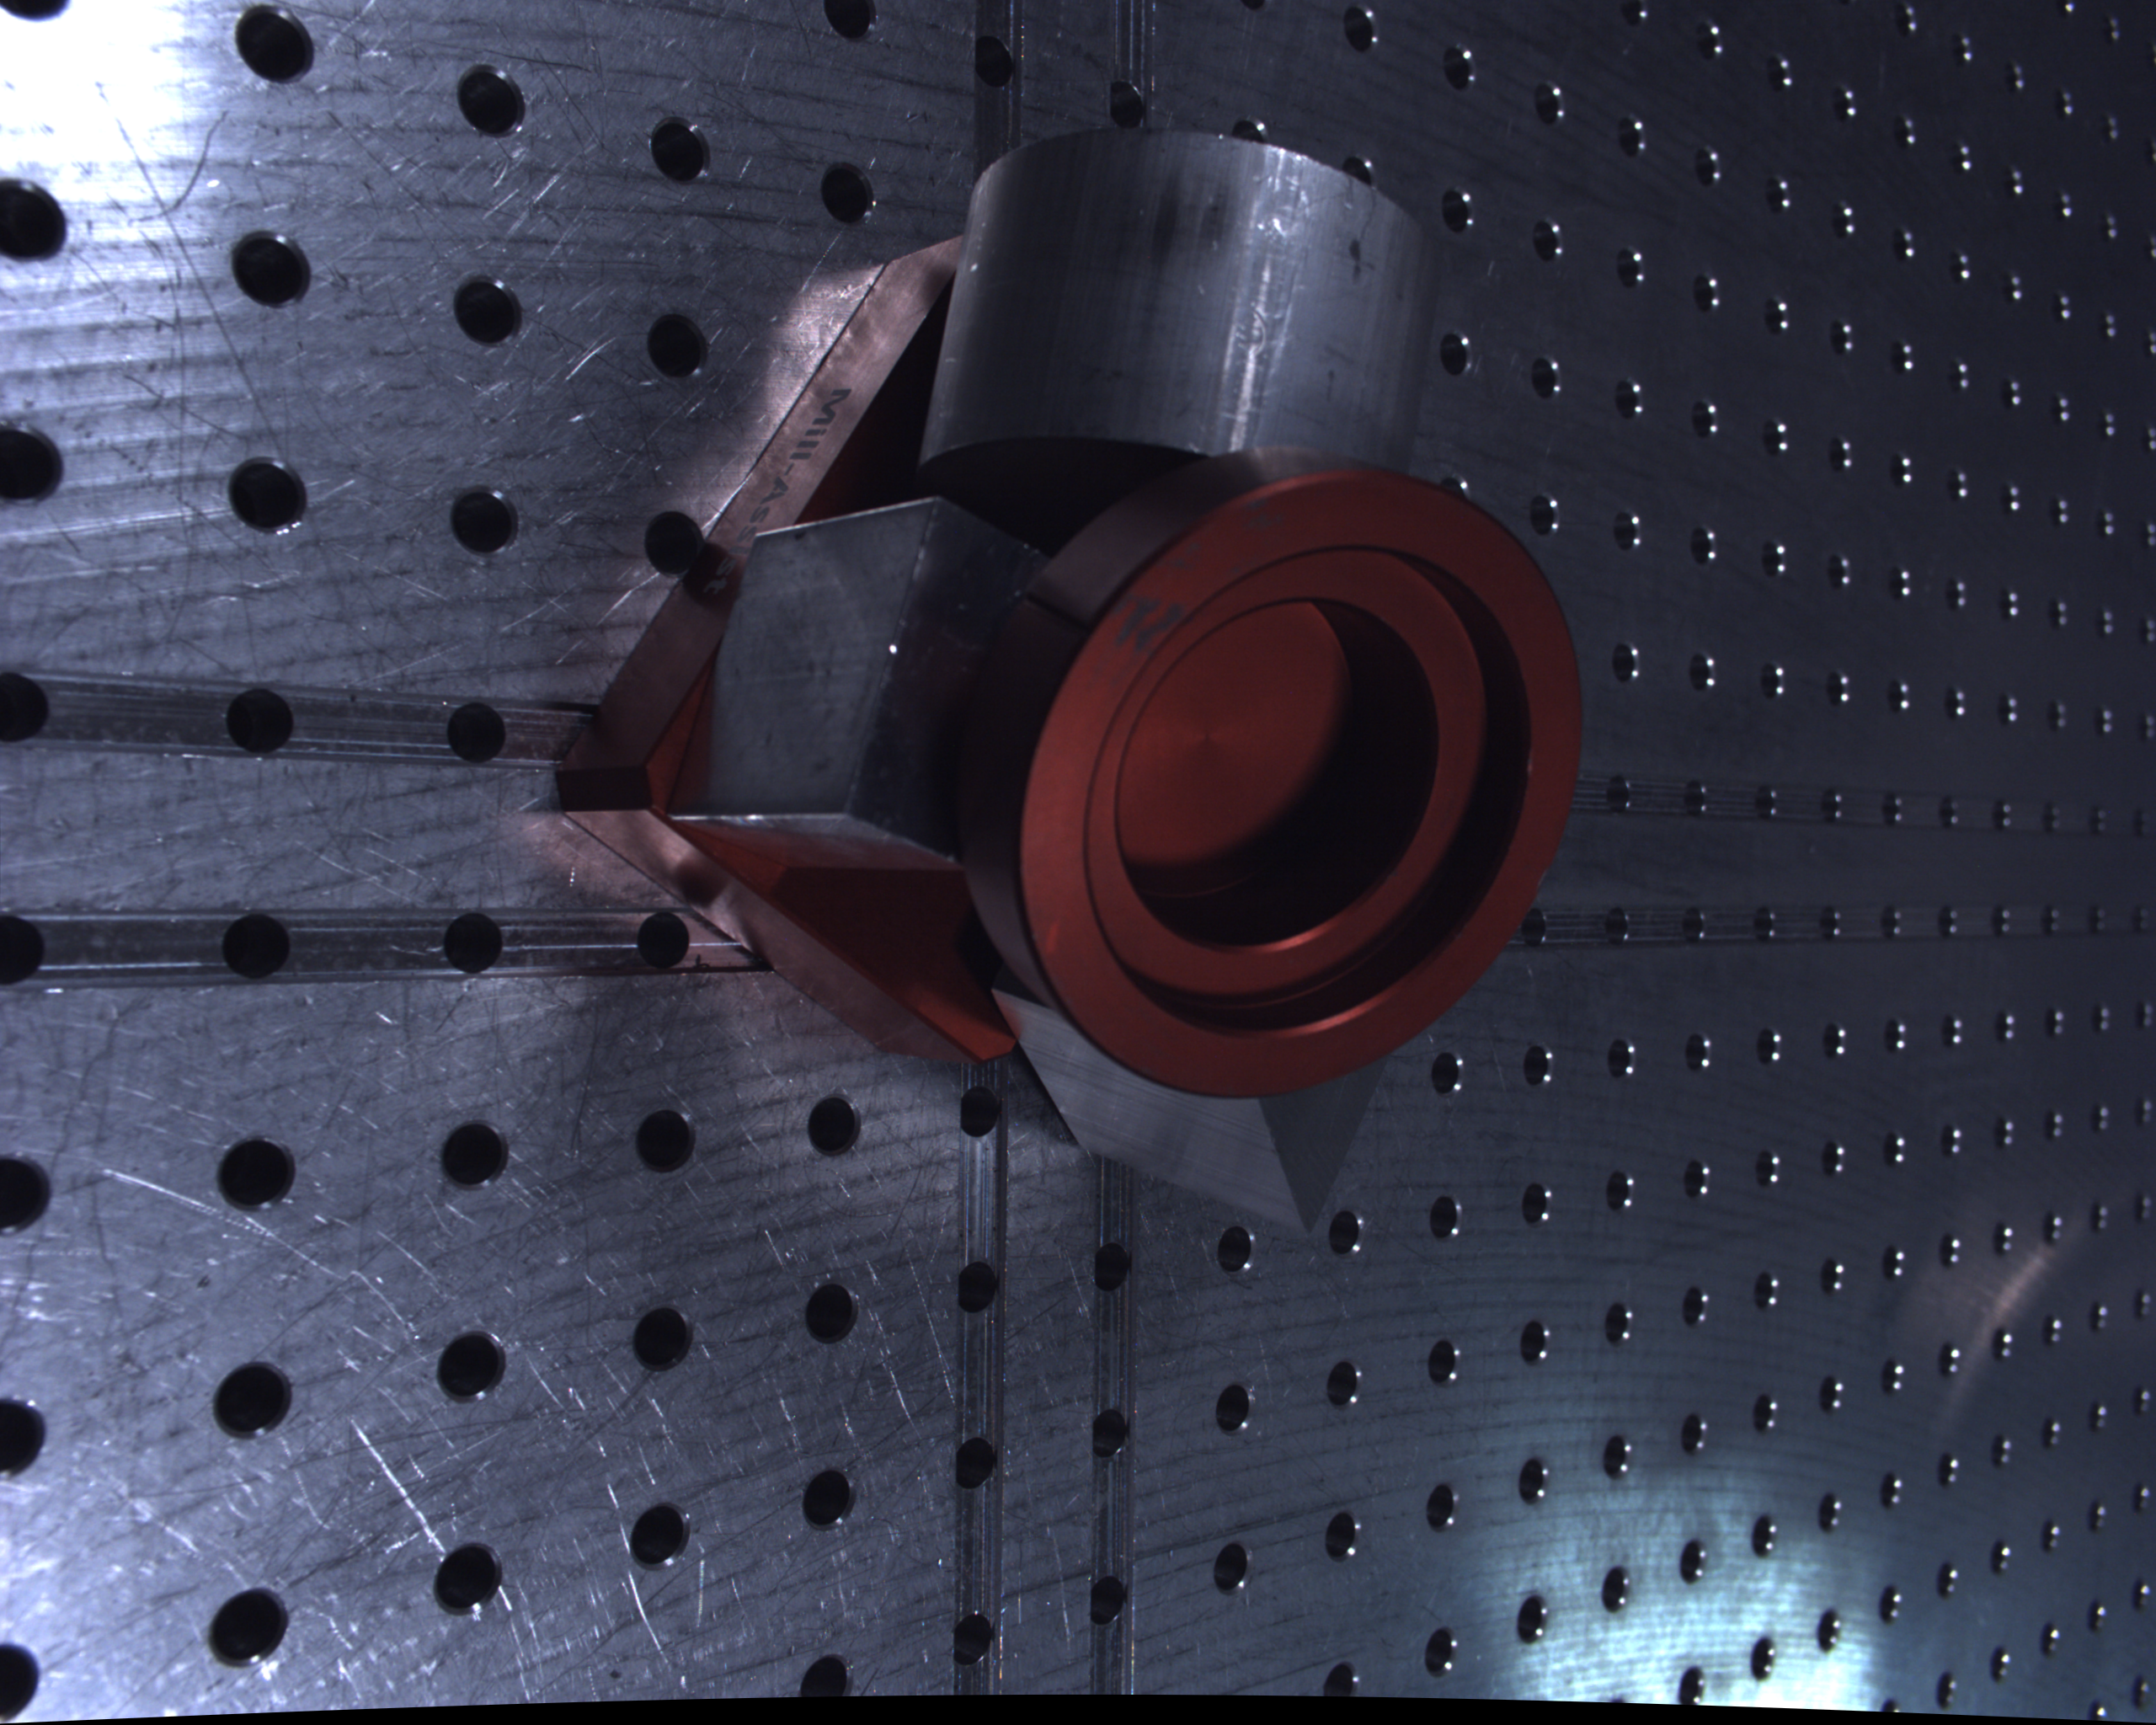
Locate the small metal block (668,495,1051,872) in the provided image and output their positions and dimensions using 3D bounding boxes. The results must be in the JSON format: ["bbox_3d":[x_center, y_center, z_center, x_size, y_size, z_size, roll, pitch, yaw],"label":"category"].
[{"bbox_3d":[-0.033,-0.026,0.325,0.025,0.050,0.050,25,74,-38],"label":"small metal block"}]

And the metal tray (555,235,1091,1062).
[{"bbox_3d":[-0.024,-0.040,0.388,0.090,0.030,0.130,42,64,-32],"label":"metal tray"}]

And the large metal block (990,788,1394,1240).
[{"bbox_3d":[0.033,0.015,0.399,0.080,0.050,0.080,-63,156,-21],"label":"large metal block"}]

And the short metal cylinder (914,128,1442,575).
[{"bbox_3d":[0.017,-0.080,0.350,0.081,0.080,0.050,17,79,-39],"label":"short metal cylinder"}]

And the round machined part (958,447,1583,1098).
[{"bbox_3d":[0.026,-0.016,0.325,0.099,0.042,0.097,-11,115,-24],"label":"round machined part"}]
